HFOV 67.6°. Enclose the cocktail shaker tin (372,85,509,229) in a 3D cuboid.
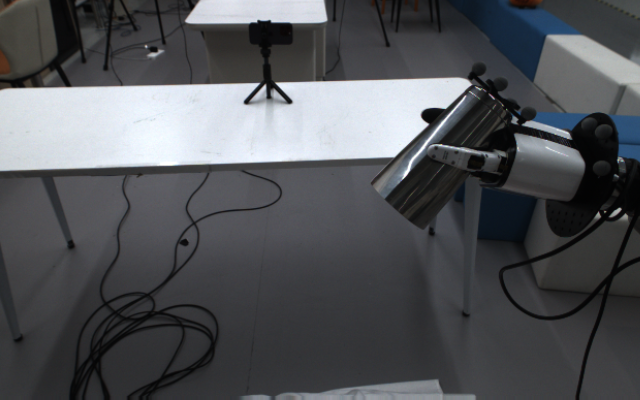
[{"bbox_3d":[0.155,-0.059,0.606,0.093,0.170,0.093,41,12,-11],"label":"cocktail shaker tin"}]
